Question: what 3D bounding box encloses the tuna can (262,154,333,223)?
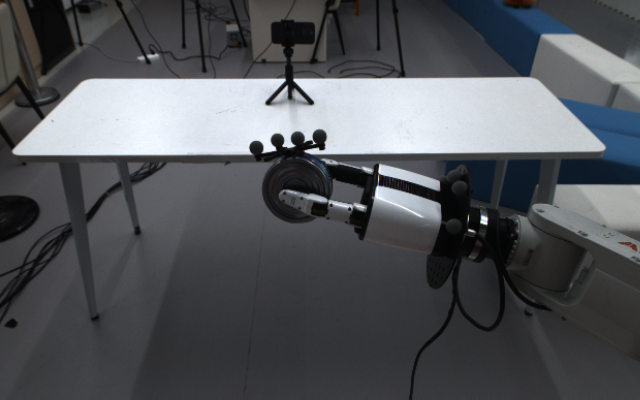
[{"bbox_3d":[-0.024,-0.009,0.600,0.085,0.085,0.034,6,18,5],"label":"tuna can"}]
